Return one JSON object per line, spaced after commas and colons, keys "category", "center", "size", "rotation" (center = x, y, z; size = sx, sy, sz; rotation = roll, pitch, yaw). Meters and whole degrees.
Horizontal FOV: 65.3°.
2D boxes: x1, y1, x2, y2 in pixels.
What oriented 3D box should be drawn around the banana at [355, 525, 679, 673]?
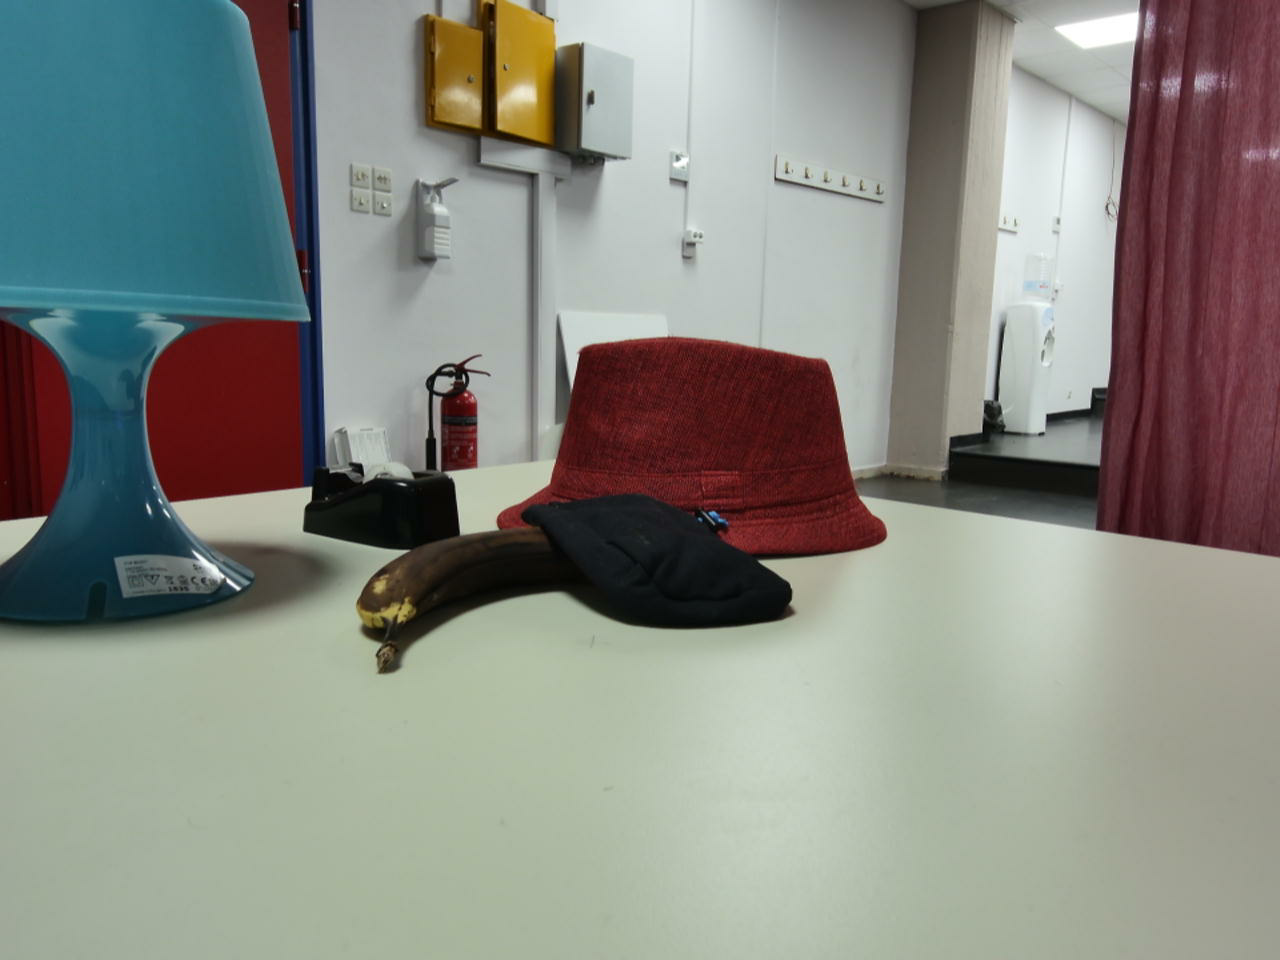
{"category": "banana", "center": [-0.071, 0.047, 0.498], "size": [0.091, 0.033, 0.188], "rotation": [6, 9, 42]}
